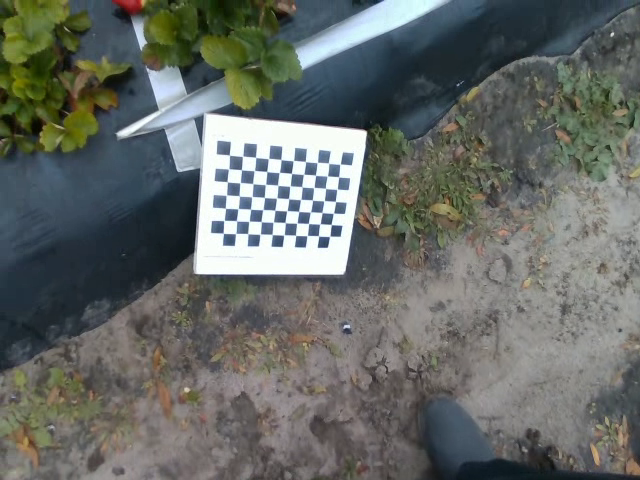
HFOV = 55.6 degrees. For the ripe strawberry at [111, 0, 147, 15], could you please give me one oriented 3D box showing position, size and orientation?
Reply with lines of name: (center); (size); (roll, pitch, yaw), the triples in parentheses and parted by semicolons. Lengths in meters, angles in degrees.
ripe strawberry: (-0.270, -0.333, 0.843); (0.051, 0.042, 0.037); (-4, 24, -23)
